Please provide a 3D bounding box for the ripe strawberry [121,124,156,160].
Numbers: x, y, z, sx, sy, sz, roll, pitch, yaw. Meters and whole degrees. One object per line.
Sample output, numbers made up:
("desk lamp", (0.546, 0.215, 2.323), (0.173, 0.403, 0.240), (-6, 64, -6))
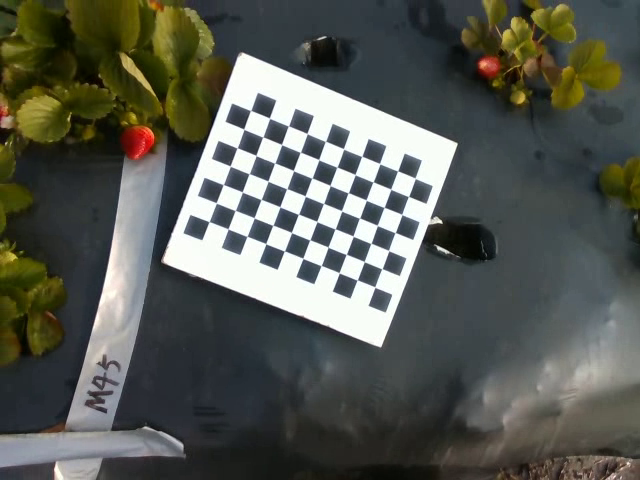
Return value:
("ripe strawberry", (-0.200, -0.104, 0.712), (0.050, 0.055, 0.036), (16, -23, -13))
